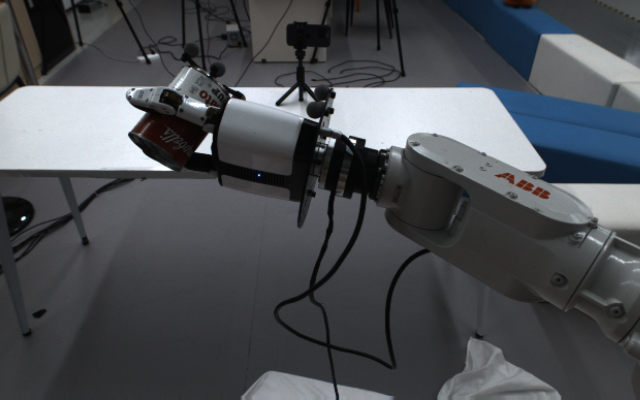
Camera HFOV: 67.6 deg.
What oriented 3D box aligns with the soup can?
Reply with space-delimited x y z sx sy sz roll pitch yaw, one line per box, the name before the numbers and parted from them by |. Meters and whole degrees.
soup can | -0.156 -0.091 0.544 0.067 0.067 0.101 24 72 28
